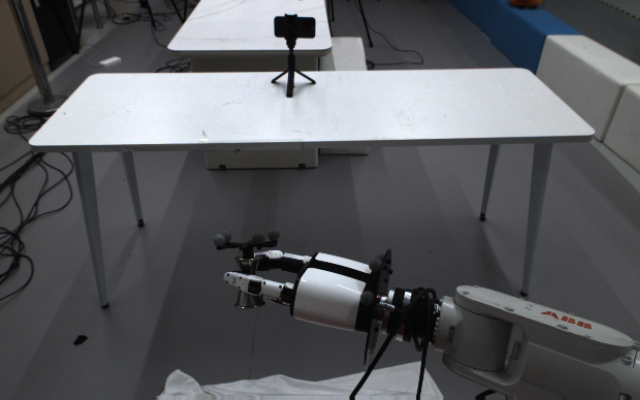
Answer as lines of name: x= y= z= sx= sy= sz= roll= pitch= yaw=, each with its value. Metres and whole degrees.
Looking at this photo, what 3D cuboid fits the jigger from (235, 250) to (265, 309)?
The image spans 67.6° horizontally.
jigger: x=-0.100 y=0.114 z=0.680 sx=0.043 sy=0.071 sz=0.043 roll=-2 pitch=3 yaw=0
